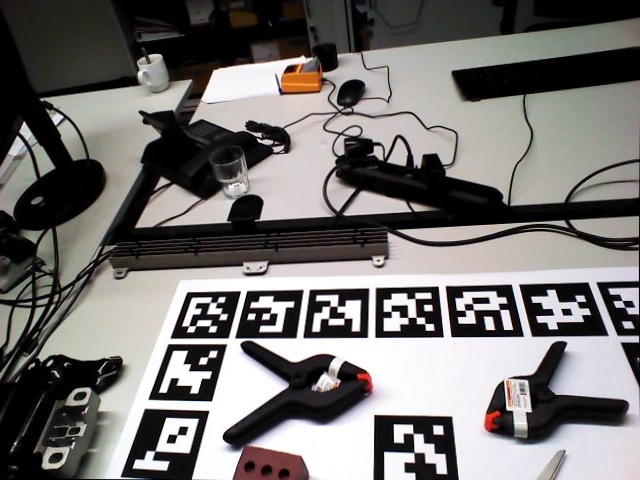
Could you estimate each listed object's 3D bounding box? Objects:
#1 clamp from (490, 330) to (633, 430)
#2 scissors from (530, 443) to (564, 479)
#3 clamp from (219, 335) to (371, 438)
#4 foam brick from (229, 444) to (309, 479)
[{"bbox_3d":[0.291,0.192,0.663,0.165,0.037,0.121,-22,50,-10],"label":"clamp"},{"bbox_3d":[0.216,0.297,0.573,0.088,0.016,0.201,35,58,30],"label":"scissors"},{"bbox_3d":[-0.030,0.197,0.727,0.203,0.037,0.164,-5,40,7],"label":"clamp"},{"bbox_3d":[-0.061,0.287,0.629,0.078,0.051,0.052,0,45,19],"label":"foam brick"}]
